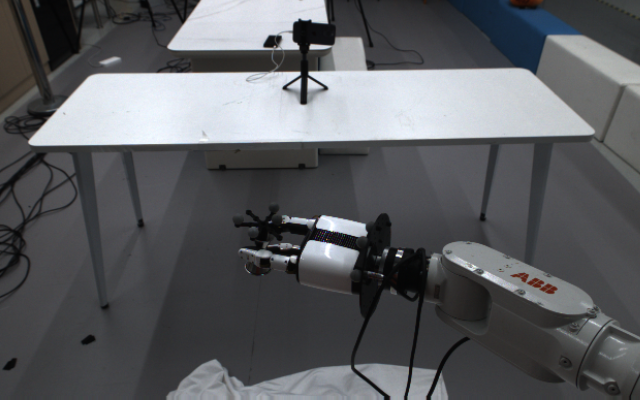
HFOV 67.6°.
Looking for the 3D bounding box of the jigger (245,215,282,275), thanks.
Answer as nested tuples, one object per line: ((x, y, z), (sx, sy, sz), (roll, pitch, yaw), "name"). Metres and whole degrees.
((-0.097, 0.081, 0.776), (0.043, 0.071, 0.043), (9, 30, -5), "jigger")
